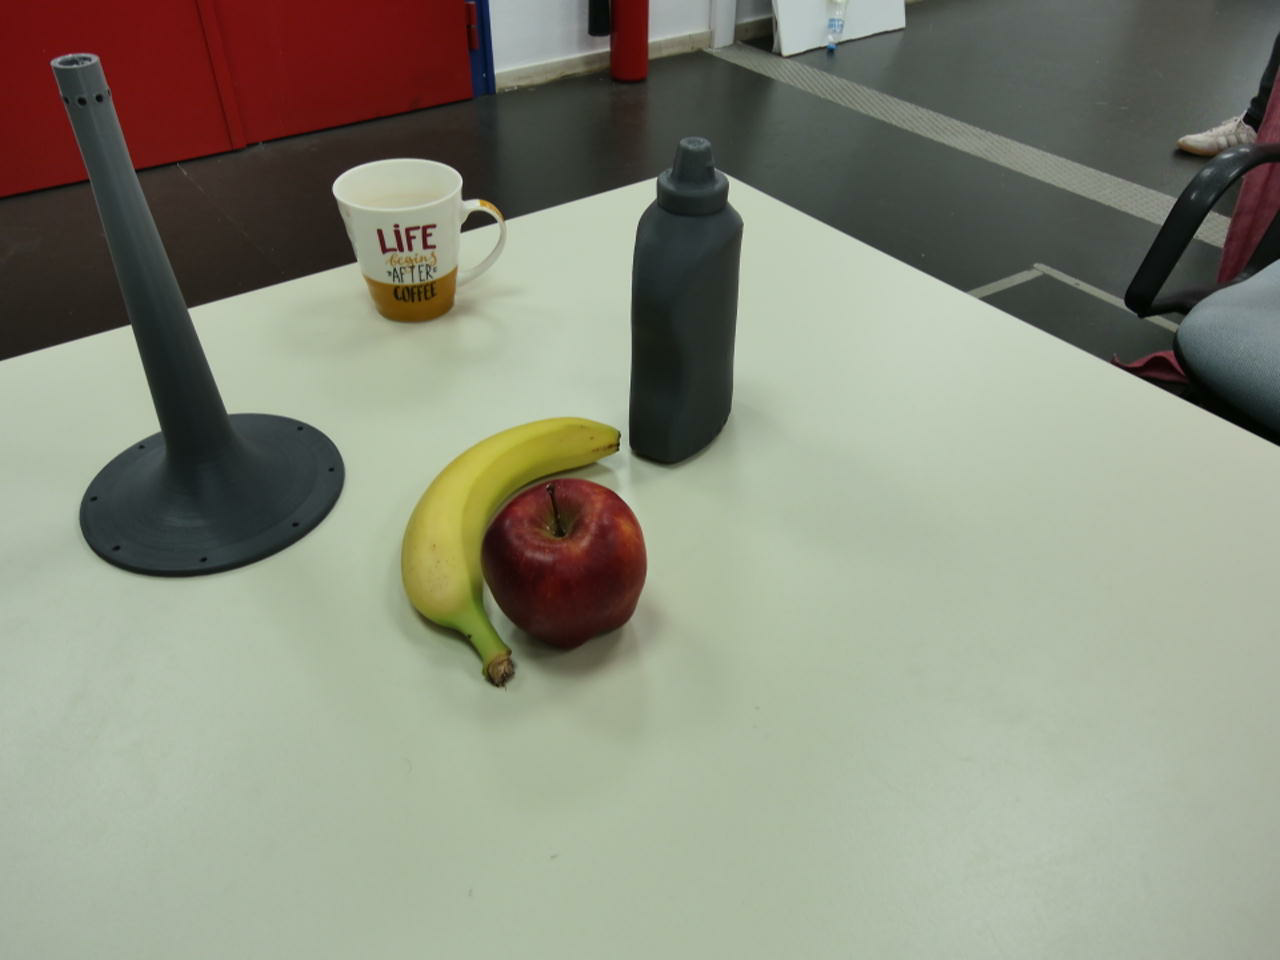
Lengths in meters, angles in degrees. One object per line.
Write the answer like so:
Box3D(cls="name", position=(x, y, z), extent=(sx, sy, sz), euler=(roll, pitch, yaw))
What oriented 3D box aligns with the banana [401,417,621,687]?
Box3D(cls="banana", position=(-0.081, 0.022, 0.566), extent=(0.094, 0.041, 0.196), euler=(12, 39, 13))
